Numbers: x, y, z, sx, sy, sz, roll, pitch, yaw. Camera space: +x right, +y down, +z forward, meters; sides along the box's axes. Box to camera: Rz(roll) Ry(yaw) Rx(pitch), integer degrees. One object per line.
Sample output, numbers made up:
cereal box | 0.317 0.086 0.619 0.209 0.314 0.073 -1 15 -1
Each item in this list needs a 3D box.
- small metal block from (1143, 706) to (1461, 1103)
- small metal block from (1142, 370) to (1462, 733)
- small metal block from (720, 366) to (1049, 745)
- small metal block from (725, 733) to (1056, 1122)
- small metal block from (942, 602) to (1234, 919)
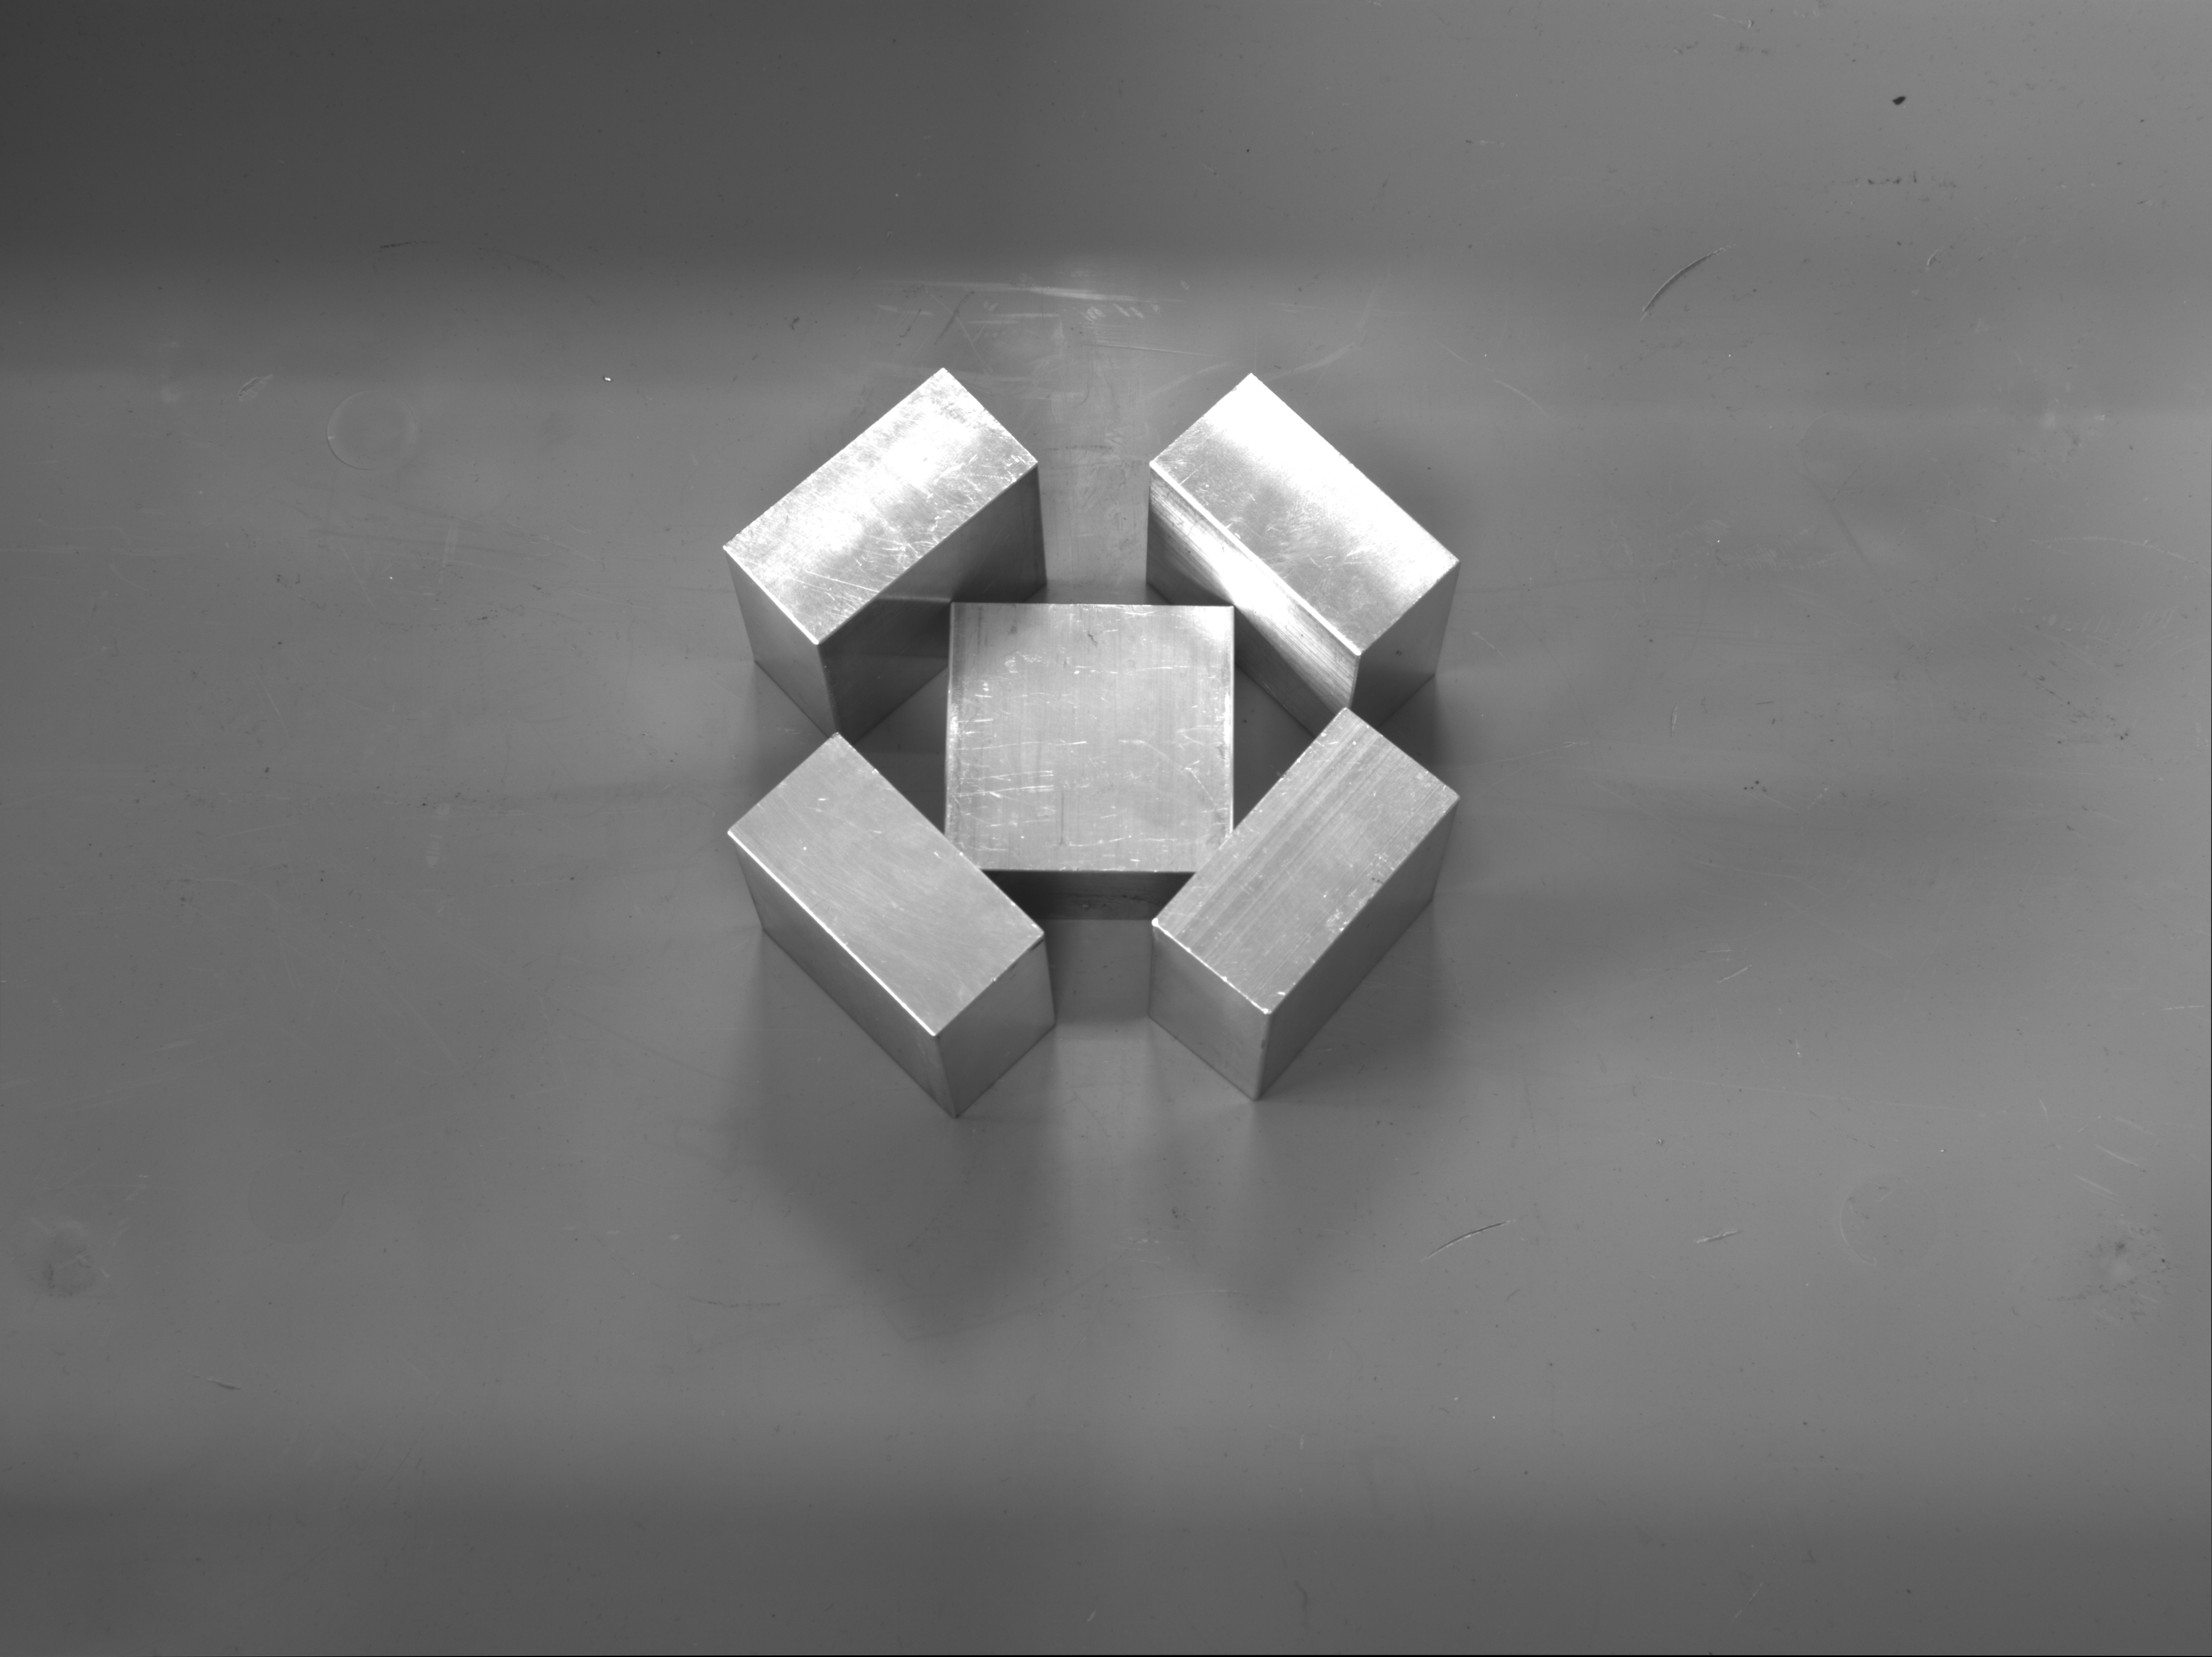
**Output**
small metal block | 0.032 0.014 0.624 0.025 0.050 0.050 39 74 12
small metal block | 0.033 -0.045 0.646 0.025 0.050 0.050 -43 76 -15
small metal block | -0.038 -0.046 0.647 0.050 0.050 0.025 -40 74 -13
small metal block | -0.036 0.018 0.623 0.025 0.050 0.050 -43 75 -13
small metal block | -0.003 -0.012 0.647 0.050 0.025 0.050 1 70 0
